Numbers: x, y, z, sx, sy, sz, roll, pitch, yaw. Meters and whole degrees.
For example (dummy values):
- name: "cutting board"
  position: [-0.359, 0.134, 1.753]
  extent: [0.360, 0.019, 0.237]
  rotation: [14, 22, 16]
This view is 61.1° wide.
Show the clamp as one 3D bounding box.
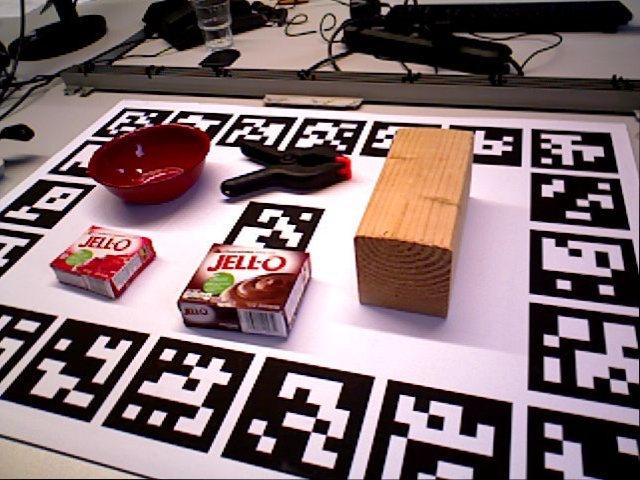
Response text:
- name: "clamp"
  position: [-0.055, -0.092, 0.713]
  extent: [0.165, 0.037, 0.119]
  rotation: [0, 41, 7]

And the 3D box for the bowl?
- name: "bowl"
  position: [-0.221, -0.090, 0.722]
  extent: [0.161, 0.056, 0.159]
  rotation: [-5, 44, 4]

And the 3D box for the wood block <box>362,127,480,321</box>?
- name: "wood block"
  position: [0.113, -0.028, 0.555]
  extent: [0.090, 0.093, 0.201]
  rotation: [9, 44, 17]

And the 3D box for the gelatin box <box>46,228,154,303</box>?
- name: "gelatin box"
  position: [-0.243, 0.025, 0.600]
  extent: [0.090, 0.031, 0.071]
  rotation: [12, 46, 22]

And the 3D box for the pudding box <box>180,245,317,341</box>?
- name: "pudding box"
  position: [-0.068, 0.050, 0.537]
  extent: [0.114, 0.039, 0.088]
  rotation: [4, 46, 17]
